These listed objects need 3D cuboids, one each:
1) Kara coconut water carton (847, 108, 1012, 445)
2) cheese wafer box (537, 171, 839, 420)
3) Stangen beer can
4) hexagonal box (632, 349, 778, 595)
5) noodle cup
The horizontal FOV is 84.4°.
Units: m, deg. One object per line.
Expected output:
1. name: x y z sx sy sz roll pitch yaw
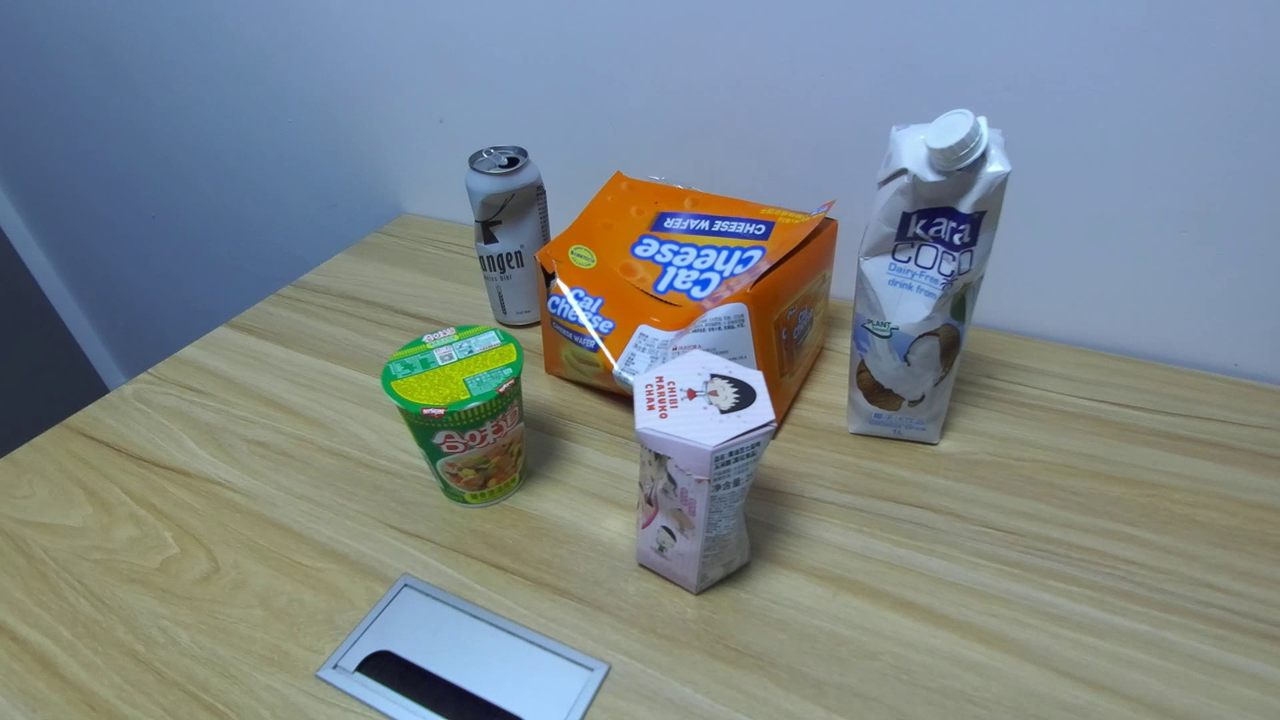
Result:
1. Kara coconut water carton: 0.196 -0.055 0.499 0.083 0.256 0.078 15 43 24
2. cheese wafer box: 0.034 -0.050 0.599 0.218 0.145 0.191 16 41 24
3. Stangen beer can: -0.121 -0.115 0.677 0.070 0.173 0.070 16 41 25
4. hexagonal box: 0.039 0.071 0.448 0.090 0.135 0.091 26 46 29
5. noodle cup: -0.127 0.047 0.519 0.097 0.110 0.097 -1 38 1
